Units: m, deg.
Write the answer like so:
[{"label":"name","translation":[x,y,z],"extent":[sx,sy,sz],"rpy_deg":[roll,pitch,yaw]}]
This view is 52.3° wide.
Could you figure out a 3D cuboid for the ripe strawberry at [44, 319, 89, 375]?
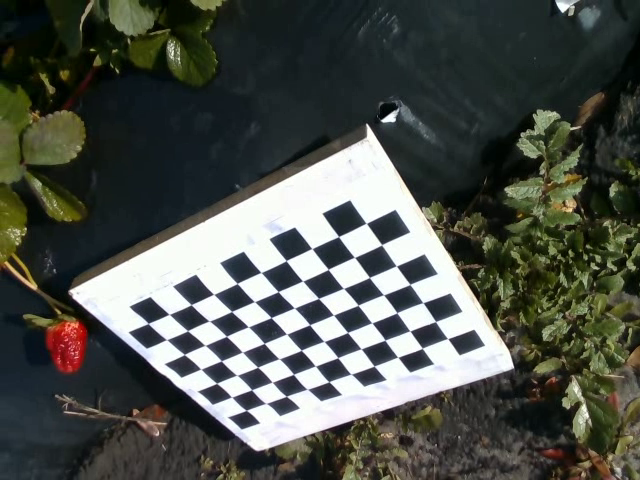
[{"label":"ripe strawberry","translation":[-0.083,0.033,0.209],"extent":[0.015,0.023,0.015],"rpy_deg":[-18,-14,17]}]
